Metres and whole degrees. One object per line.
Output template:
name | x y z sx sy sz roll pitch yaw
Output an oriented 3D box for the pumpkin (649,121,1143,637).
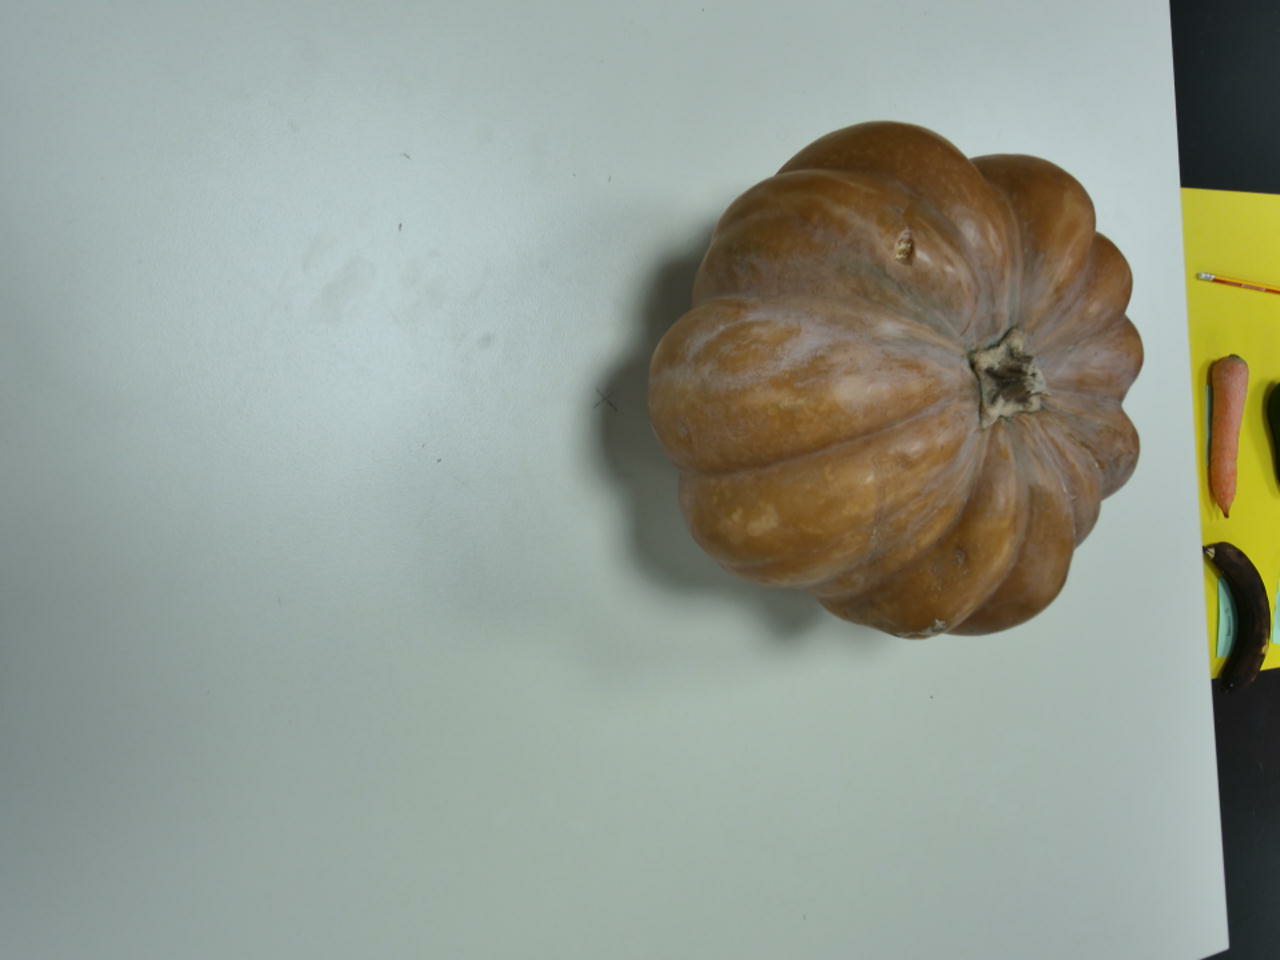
pumpkin | 0.136 -0.049 0.526 0.277 0.181 0.277 -1 92 -23
